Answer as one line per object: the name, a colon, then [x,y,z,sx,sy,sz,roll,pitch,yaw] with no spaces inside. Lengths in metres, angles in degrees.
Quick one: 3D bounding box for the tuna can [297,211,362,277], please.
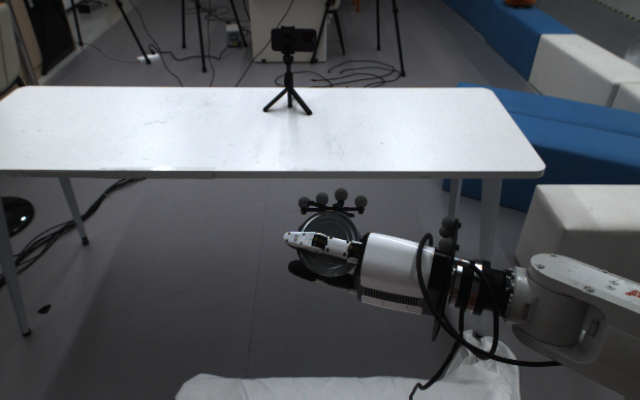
tuna can: [0.013,0.058,0.645,0.085,0.034,0.085,-5,70,15]
